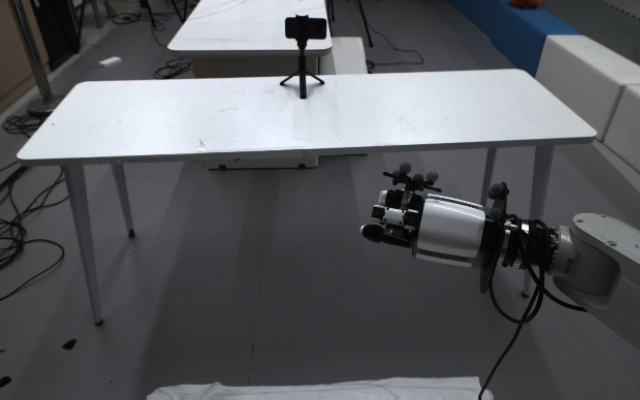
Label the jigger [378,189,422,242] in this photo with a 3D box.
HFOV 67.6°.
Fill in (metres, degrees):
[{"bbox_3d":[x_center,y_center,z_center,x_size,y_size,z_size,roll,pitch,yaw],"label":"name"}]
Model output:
[{"bbox_3d":[0.121,0.021,0.706,0.043,0.071,0.043,19,-6,2],"label":"jigger"}]
